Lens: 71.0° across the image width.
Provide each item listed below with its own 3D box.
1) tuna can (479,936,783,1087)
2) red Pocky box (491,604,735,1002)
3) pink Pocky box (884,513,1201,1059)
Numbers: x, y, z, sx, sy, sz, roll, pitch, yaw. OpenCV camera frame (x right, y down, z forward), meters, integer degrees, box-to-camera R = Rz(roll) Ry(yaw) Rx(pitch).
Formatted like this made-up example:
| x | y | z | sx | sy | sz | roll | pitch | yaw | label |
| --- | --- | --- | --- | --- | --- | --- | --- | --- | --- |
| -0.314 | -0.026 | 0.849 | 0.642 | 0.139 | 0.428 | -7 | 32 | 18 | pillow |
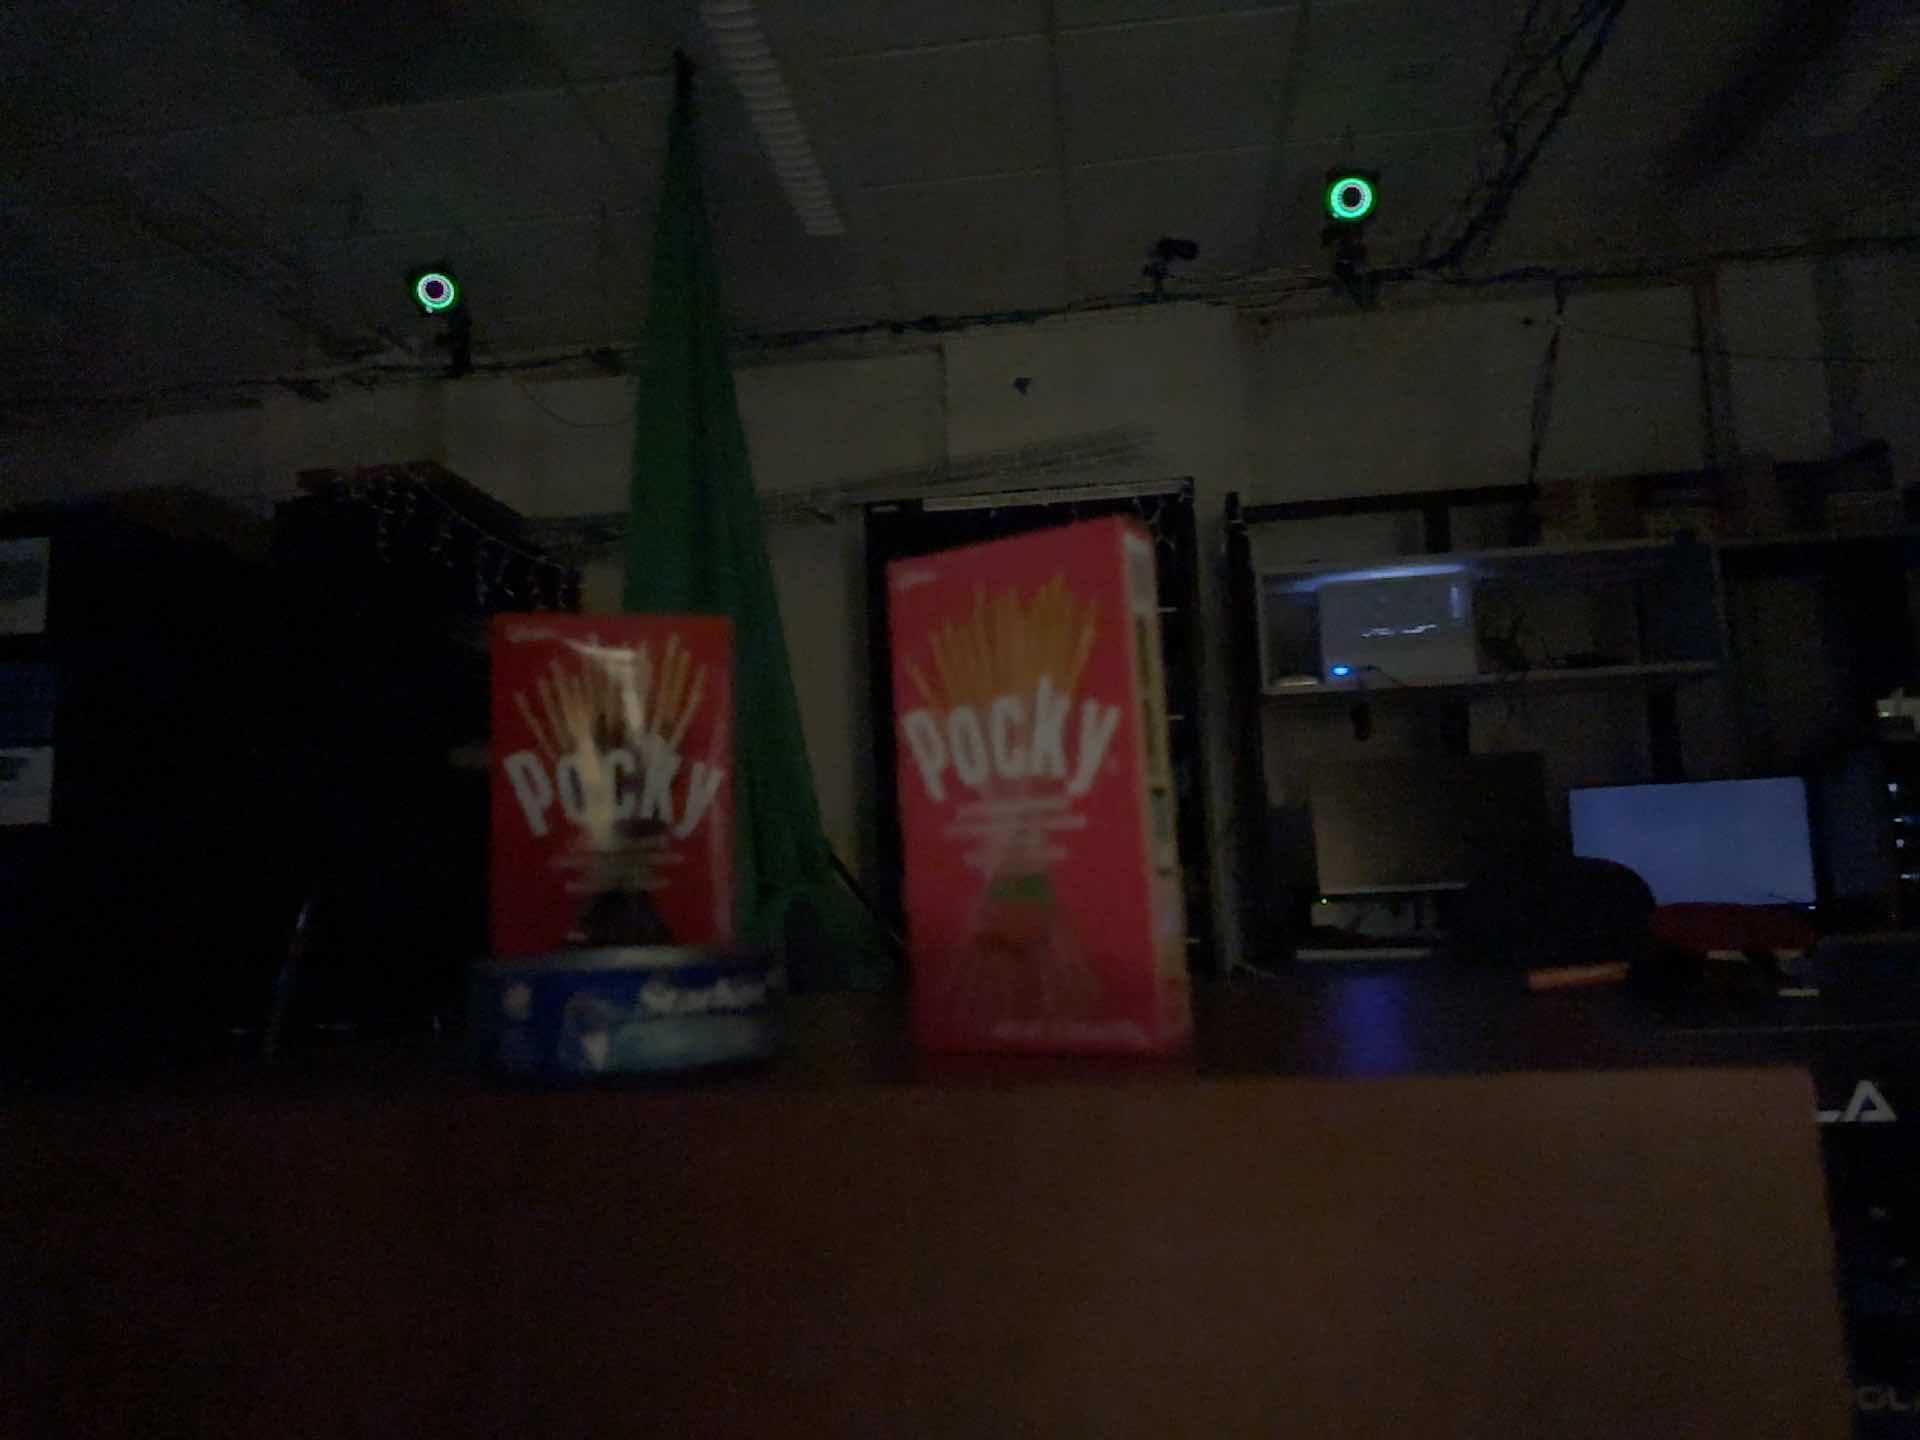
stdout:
| x | y | z | sx | sy | sz | roll | pitch | yaw | label |
| --- | --- | --- | --- | --- | --- | --- | --- | --- | --- |
| -0.093 | 0.082 | 0.385 | 0.083 | 0.034 | 0.083 | -3 | -7 | 0 | tuna can |
| -0.122 | 0.036 | 0.476 | 0.083 | 0.155 | 0.028 | -1 | -5 | -9 | red Pocky box |
| 0.023 | 0.021 | 0.403 | 0.084 | 0.155 | 0.029 | -7 | -6 | 30 | pink Pocky box |
